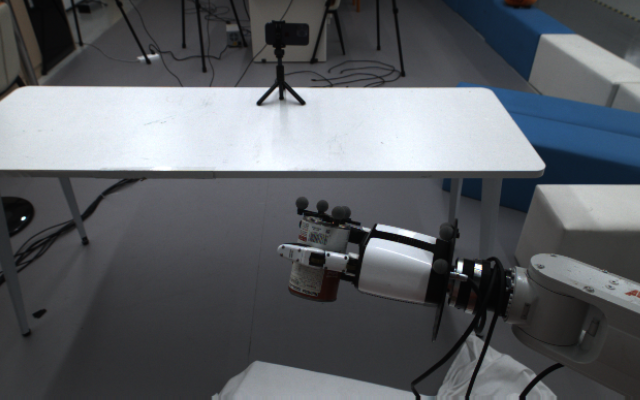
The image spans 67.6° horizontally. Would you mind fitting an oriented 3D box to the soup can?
[{"bbox_3d":[0.001,0.077,0.645,0.067,0.101,0.067,12,2,0],"label":"soup can"}]
